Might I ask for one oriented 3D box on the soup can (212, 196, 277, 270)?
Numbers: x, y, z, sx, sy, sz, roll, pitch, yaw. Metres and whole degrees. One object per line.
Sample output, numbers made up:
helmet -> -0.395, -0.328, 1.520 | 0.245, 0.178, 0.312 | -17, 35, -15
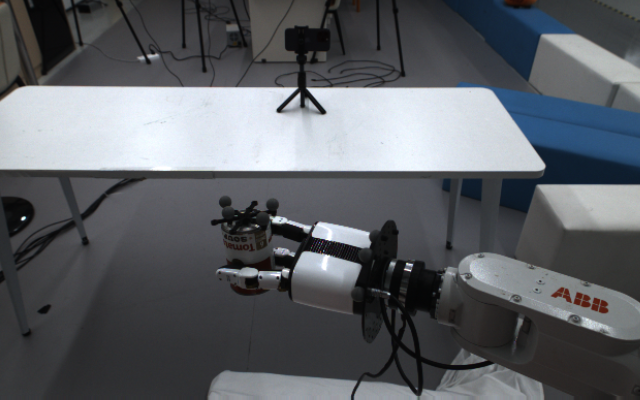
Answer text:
soup can -> -0.096, 0.072, 0.673 | 0.067, 0.101, 0.067 | -3, 27, 2
